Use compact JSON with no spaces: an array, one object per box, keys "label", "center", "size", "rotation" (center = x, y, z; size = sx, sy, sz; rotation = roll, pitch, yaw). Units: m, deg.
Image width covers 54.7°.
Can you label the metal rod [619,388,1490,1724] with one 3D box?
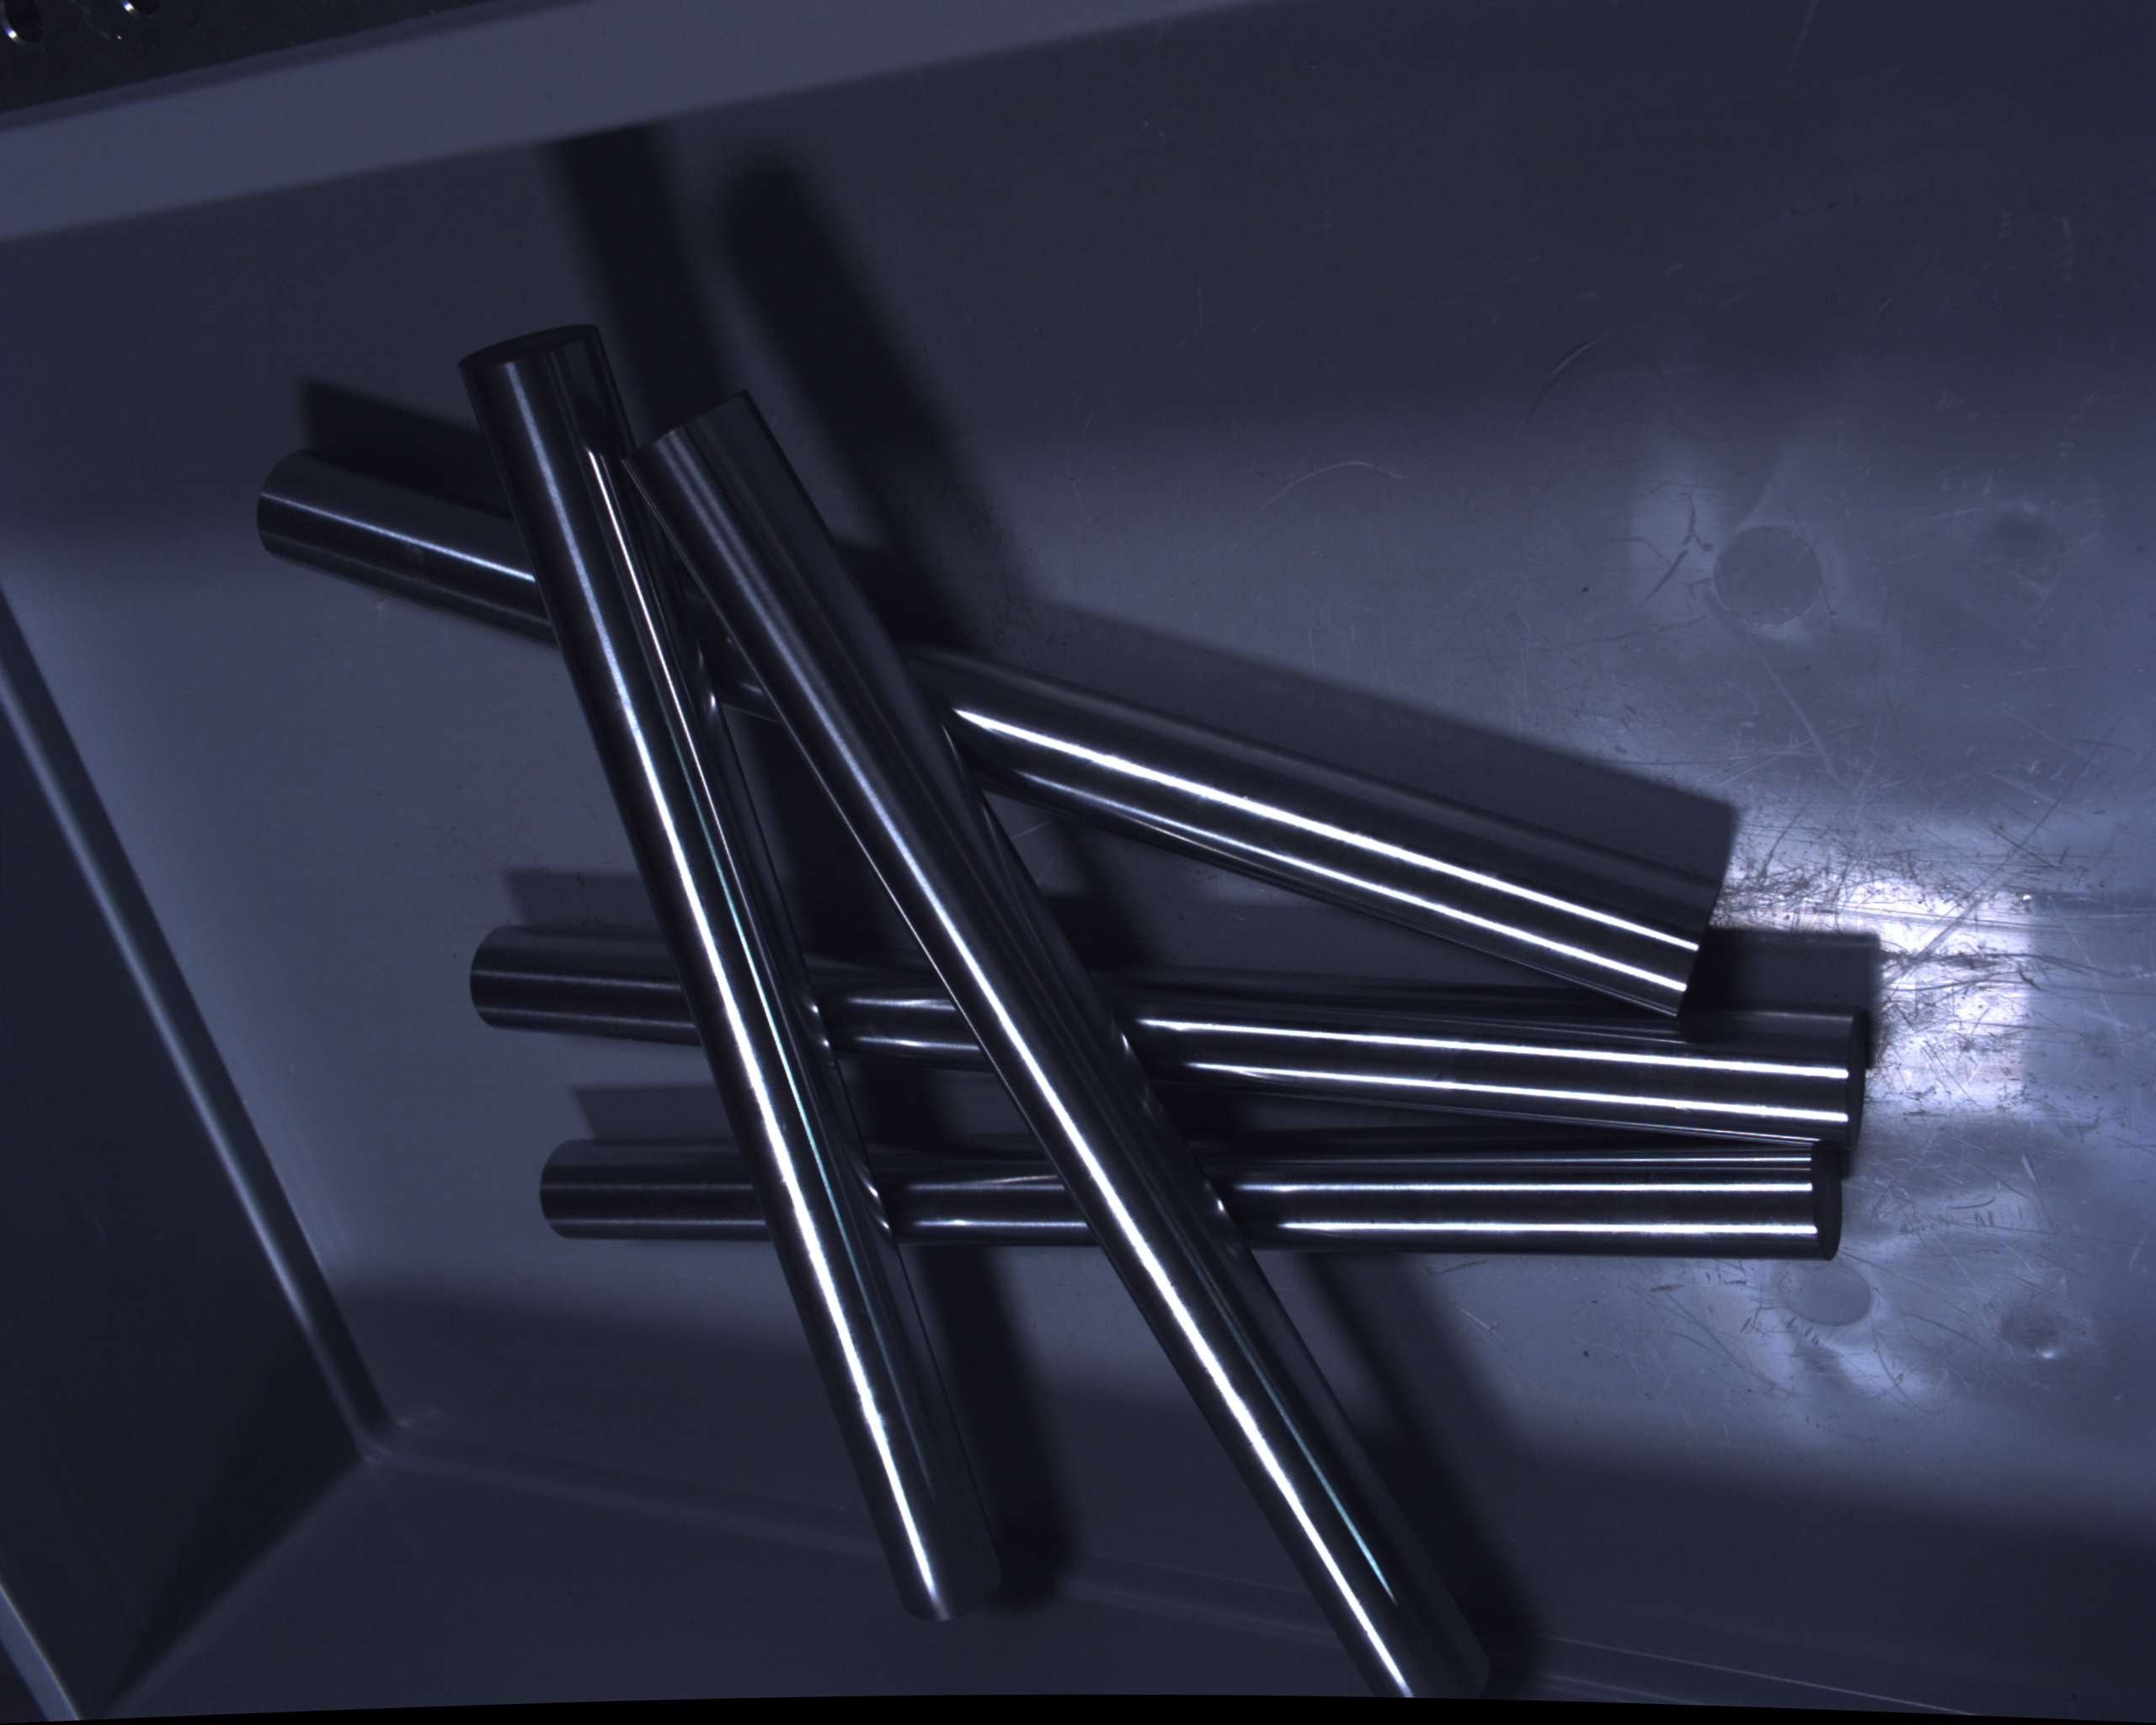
[{"label":"metal rod","center":[0.003,0.049,0.401],"size":[0.025,0.025,0.299],"rotation":[-19,109,35]}]

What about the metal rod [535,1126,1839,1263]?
[{"label":"metal rod","center":[0.003,0.070,0.447],"size":[0.300,0.025,0.025],"rotation":[-5,116,30]}]

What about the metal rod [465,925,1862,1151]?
[{"label":"metal rod","center":[-0.001,0.032,0.425],"size":[0.301,0.025,0.025],"rotation":[2,119,26]}]

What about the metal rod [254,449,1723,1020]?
[{"label":"metal rod","center":[-0.030,-0.030,0.402],"size":[0.301,0.025,0.025],"rotation":[18,126,17]}]

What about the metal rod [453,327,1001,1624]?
[{"label":"metal rod","center":[-0.064,0.040,0.430],"size":[0.025,0.025,0.298],"rotation":[0,119,28]}]
